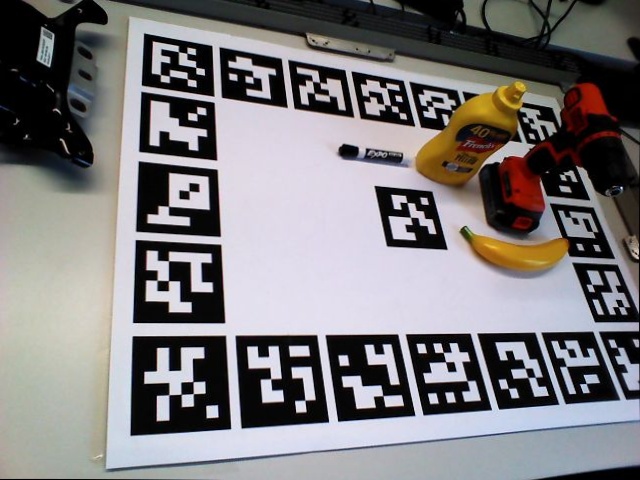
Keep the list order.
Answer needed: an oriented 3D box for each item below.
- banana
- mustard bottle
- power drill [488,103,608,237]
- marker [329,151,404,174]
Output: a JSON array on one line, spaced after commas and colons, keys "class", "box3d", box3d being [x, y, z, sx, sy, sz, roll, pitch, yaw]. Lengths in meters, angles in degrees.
[{"class": "banana", "box3d": [0.296, 0.038, 0.797, 0.197, 0.039, 0.074, 11, 63, -15]}, {"class": "mustard bottle", "box3d": [0.220, -0.140, 0.763, 0.096, 0.193, 0.058, 15, 60, -16]}, {"class": "power drill", "box3d": [0.330, -0.082, 0.757, 0.057, 0.188, 0.183, 17, 57, -15]}, {"class": "marker", "box3d": [0.071, -0.120, 0.797, 0.121, 0.020, 0.019, 6, 63, -19]}]
